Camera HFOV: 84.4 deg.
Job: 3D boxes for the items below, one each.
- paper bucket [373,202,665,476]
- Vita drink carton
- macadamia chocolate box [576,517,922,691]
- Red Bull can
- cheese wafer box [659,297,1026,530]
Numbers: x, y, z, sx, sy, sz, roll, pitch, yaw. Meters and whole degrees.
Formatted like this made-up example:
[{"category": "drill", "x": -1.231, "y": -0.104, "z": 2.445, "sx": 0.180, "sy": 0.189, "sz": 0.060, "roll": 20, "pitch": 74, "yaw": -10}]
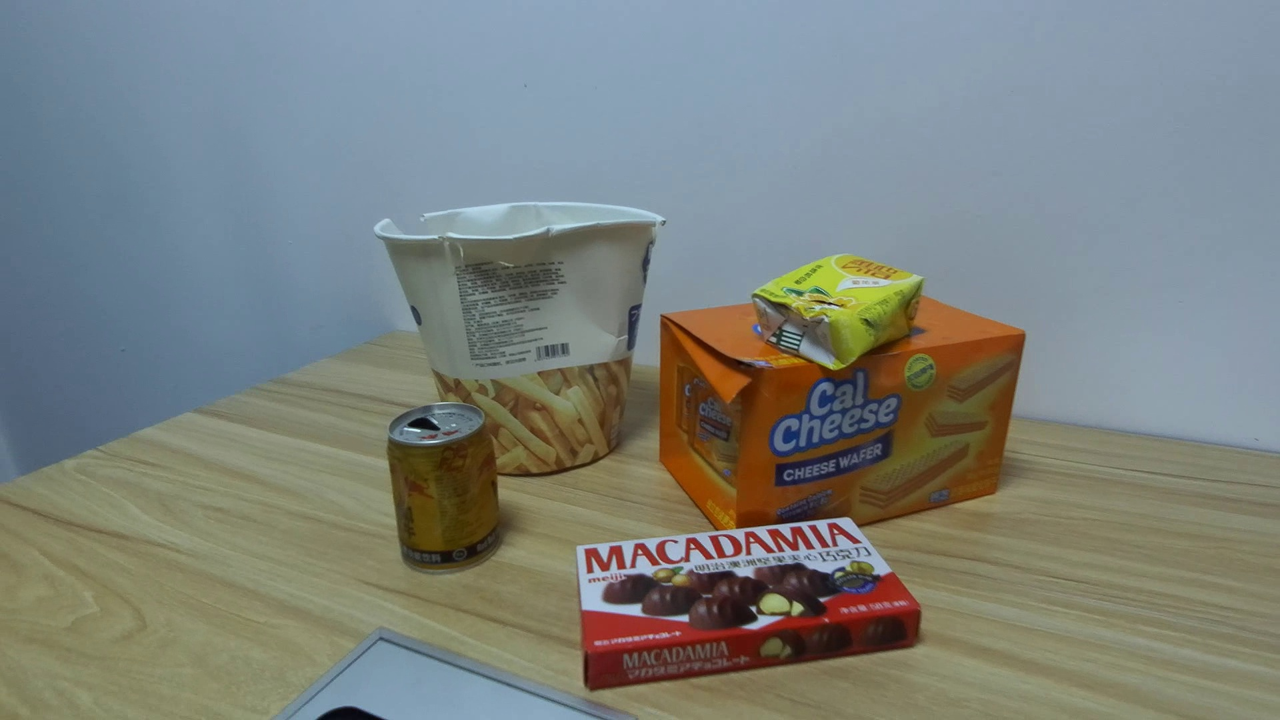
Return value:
[{"category": "paper bucket", "x": -0.094, "y": -0.025, "z": 0.594, "sx": 0.203, "sy": 0.197, "sz": 0.145, "roll": -13, "pitch": 22, "yaw": -29}, {"category": "Vita drink carton", "x": 0.130, "y": -0.032, "z": 0.465, "sx": 0.109, "sy": 0.042, "sz": 0.086, "roll": -21, "pitch": 36, "yaw": -37}, {"category": "macadamia chocolate box", "x": 0.055, "y": 0.134, "z": 0.405, "sx": 0.178, "sy": 0.027, "sz": 0.095, "roll": -4, "pitch": 19, "yaw": -6}, {"category": "Red Bull can", "x": -0.126, "y": 0.082, "z": 0.460, "sx": 0.068, "sy": 0.093, "sz": 0.068, "roll": -1, "pitch": 19, "yaw": 1}, {"category": "cheese wafer box", "x": 0.140, "y": 0.030, "z": 0.530, "sx": 0.228, "sy": 0.137, "sz": 0.149, "roll": -7, "pitch": 21, "yaw": -19}]
